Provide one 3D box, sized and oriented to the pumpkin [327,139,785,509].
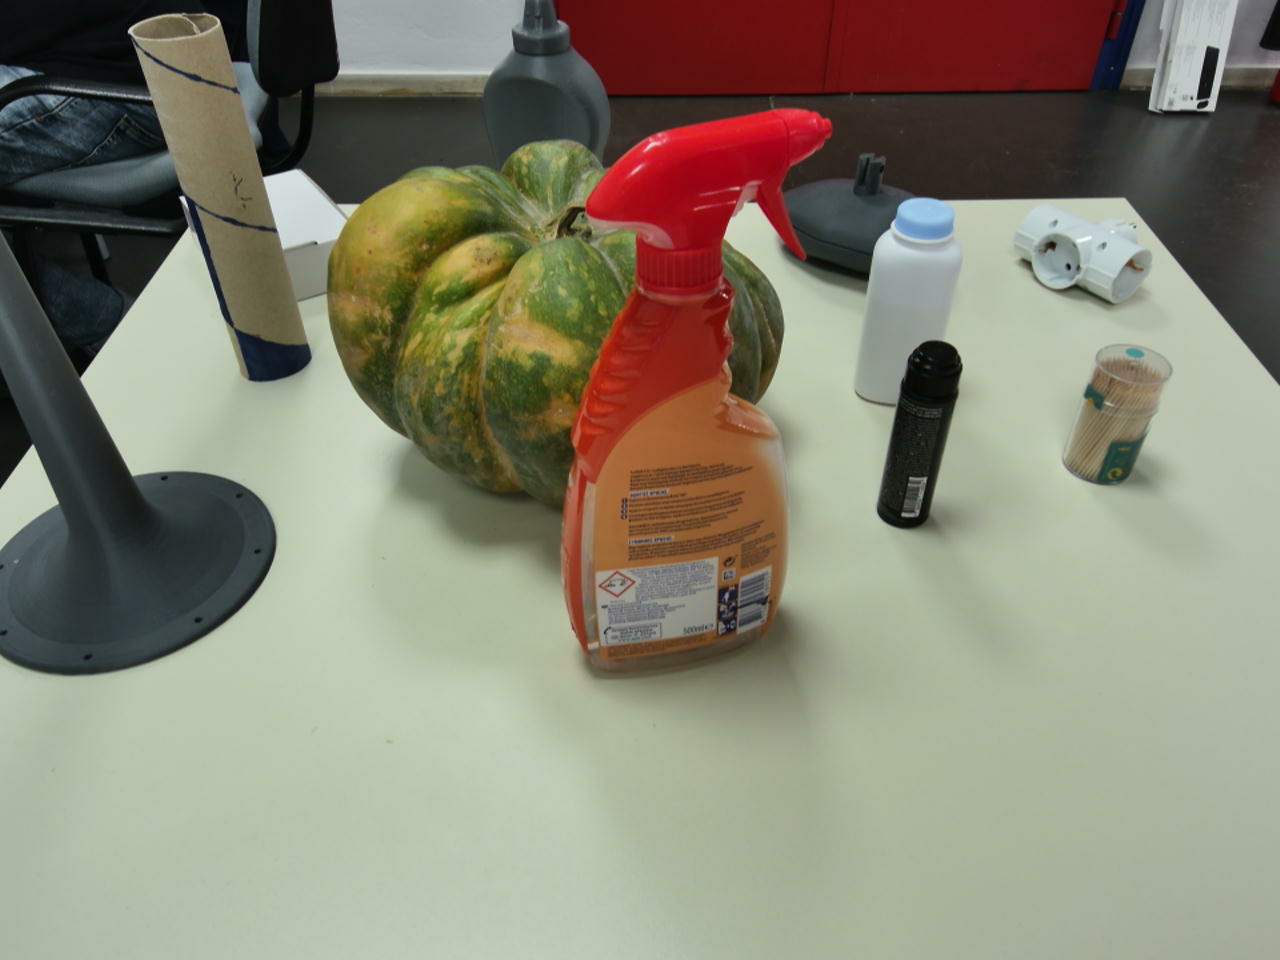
[{"bbox_3d":[-0.046,-0.097,0.583,0.270,0.173,0.237,26,46,28],"label":"pumpkin"}]
